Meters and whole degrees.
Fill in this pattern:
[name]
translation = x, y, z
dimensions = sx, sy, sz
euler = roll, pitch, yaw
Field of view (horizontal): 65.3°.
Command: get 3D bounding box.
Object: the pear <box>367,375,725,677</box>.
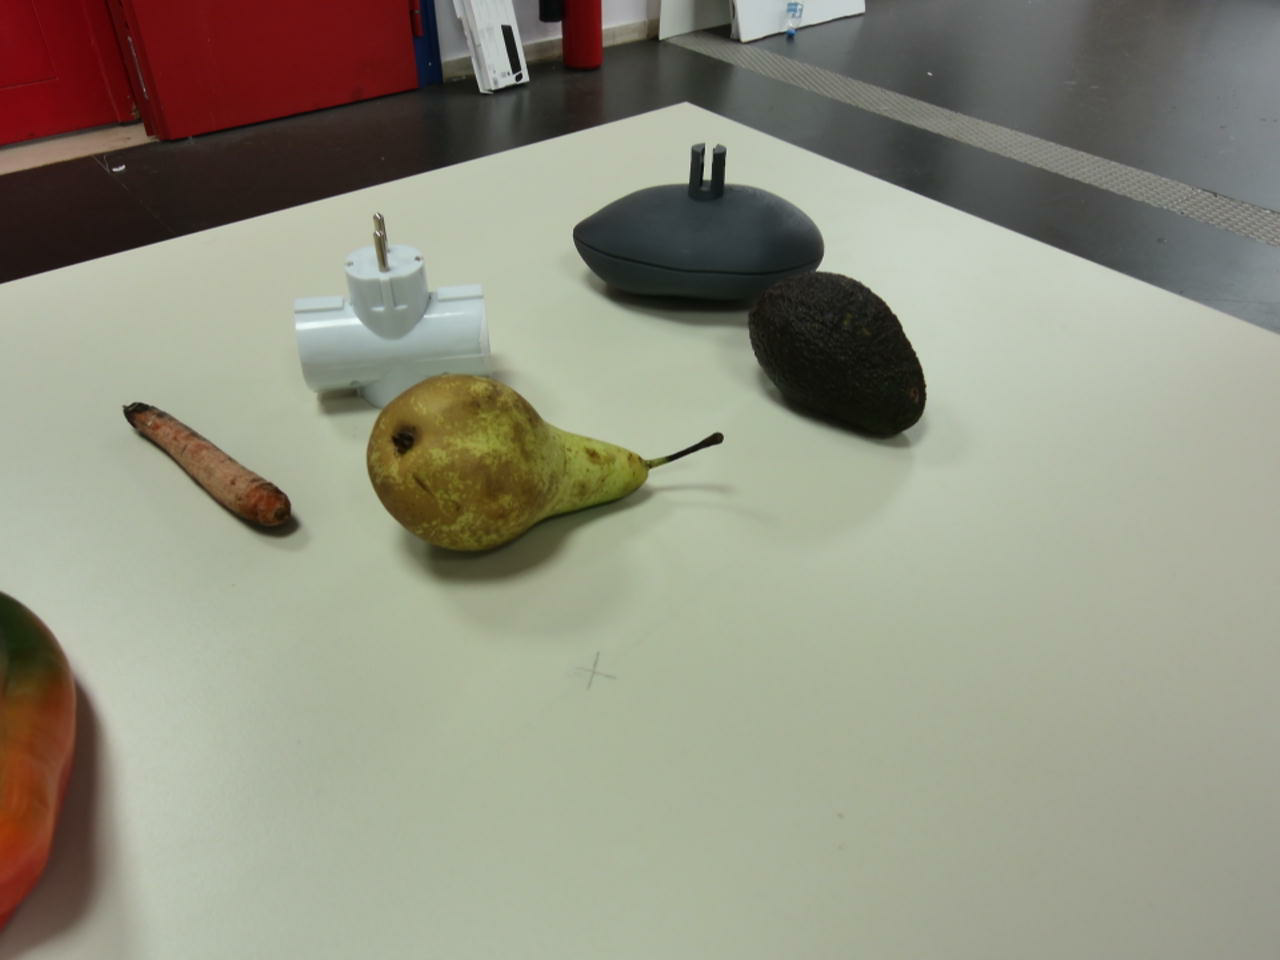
[pear]
translation = -0.043, -0.018, 0.420
dimensions = 0.144, 0.075, 0.071
euler = -22, 42, -26
